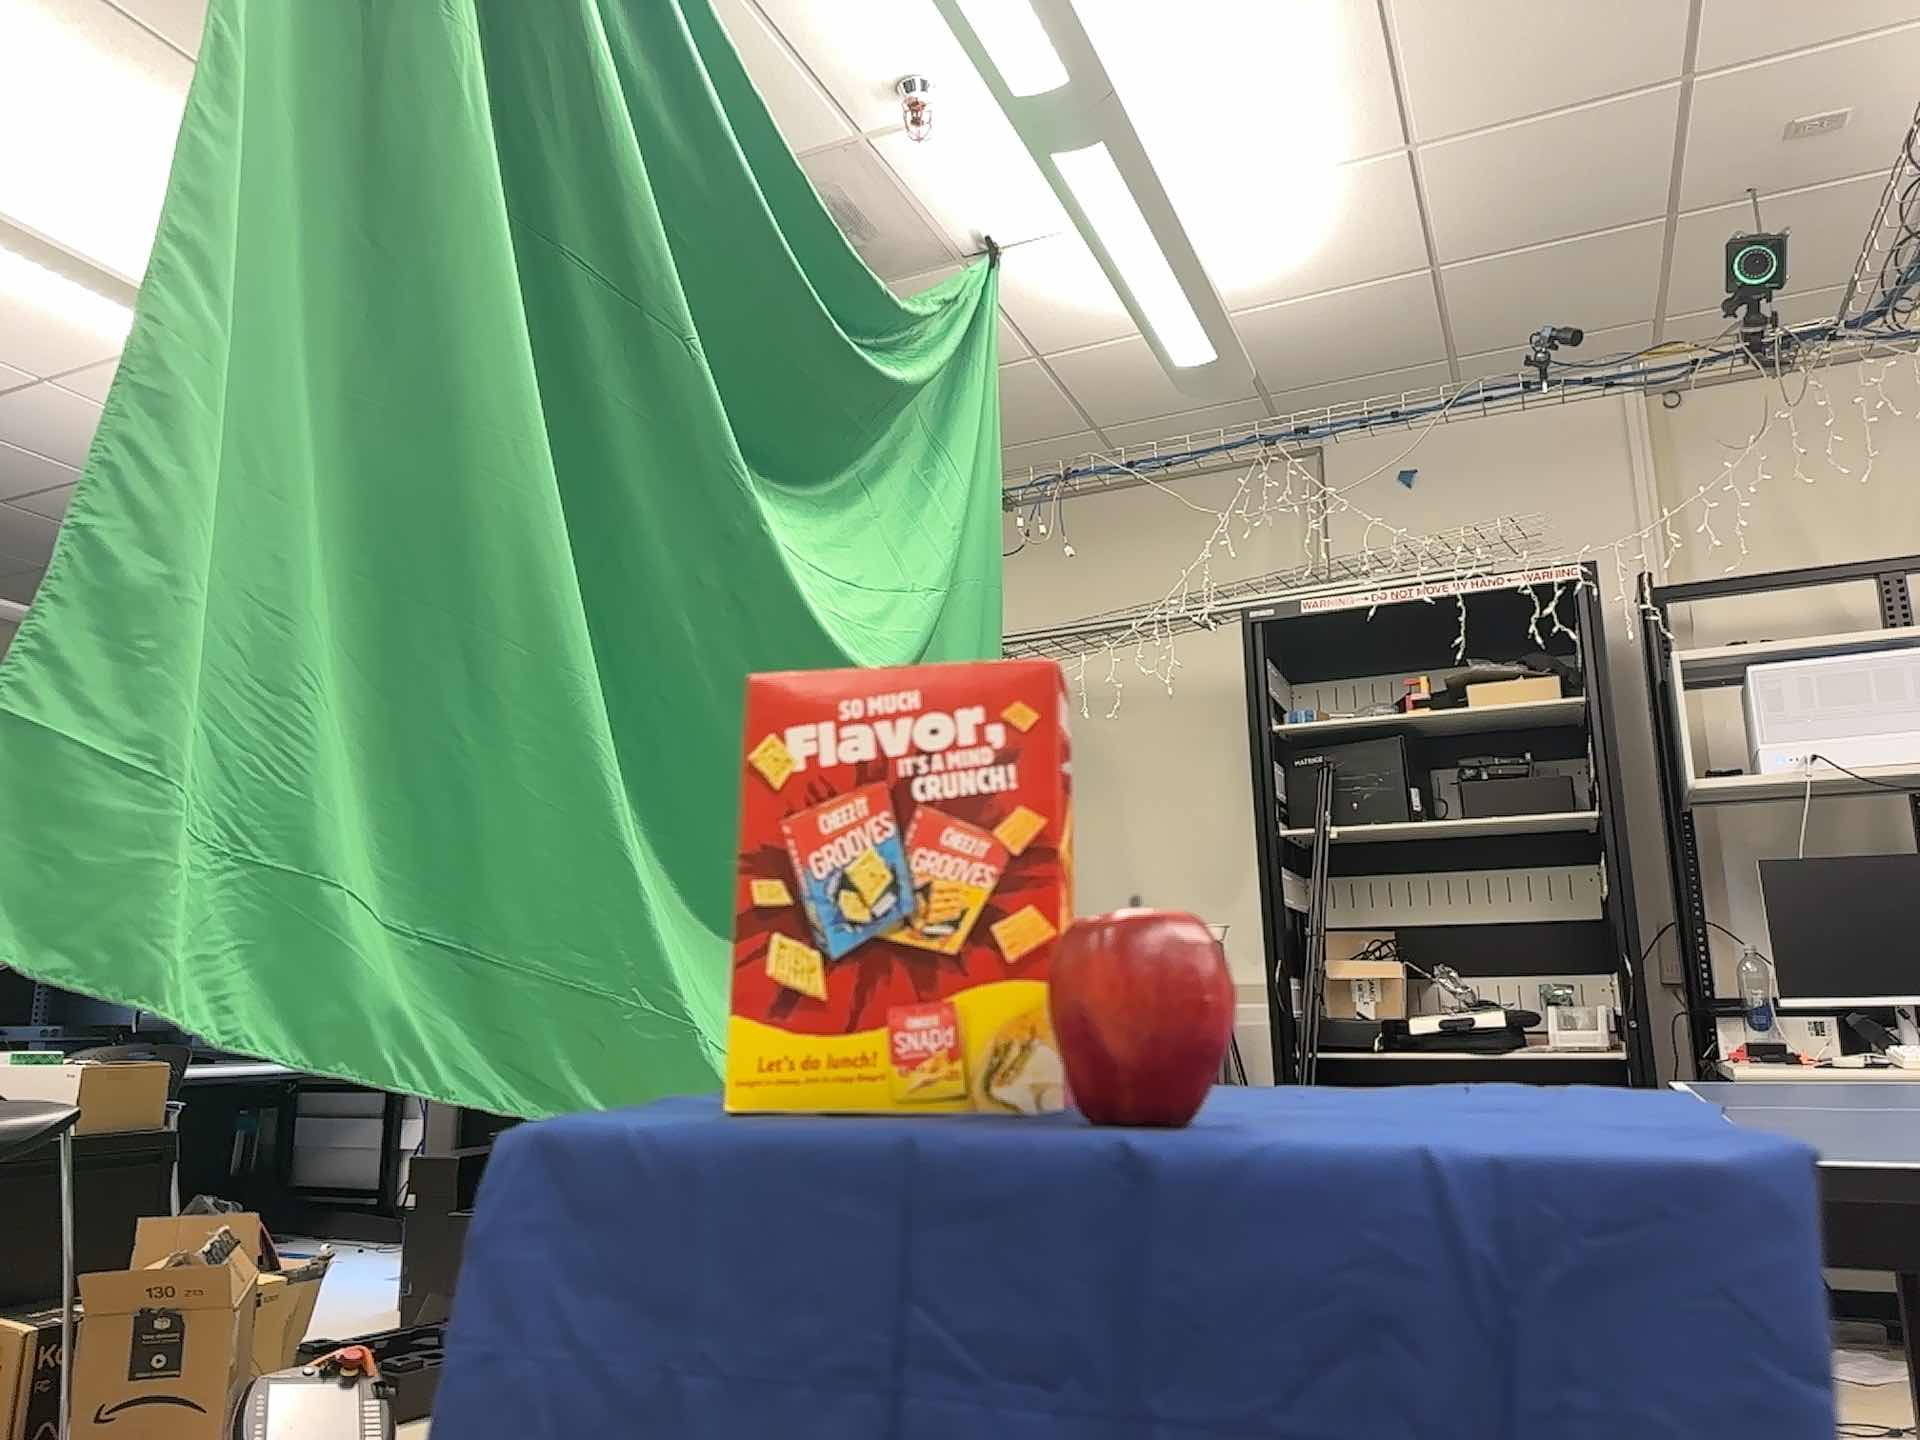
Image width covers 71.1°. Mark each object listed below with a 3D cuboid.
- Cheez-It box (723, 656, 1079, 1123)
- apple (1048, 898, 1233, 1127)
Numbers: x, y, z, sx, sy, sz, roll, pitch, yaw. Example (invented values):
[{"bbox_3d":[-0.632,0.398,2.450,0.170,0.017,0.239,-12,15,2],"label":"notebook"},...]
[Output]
[{"bbox_3d":[-0.026,0.083,0.669,0.159,0.214,0.062,-2,-11,9],"label":"Cheez-It box"},{"bbox_3d":[0.077,0.122,0.566,0.079,0.093,0.079,-2,-11,0],"label":"apple"}]
